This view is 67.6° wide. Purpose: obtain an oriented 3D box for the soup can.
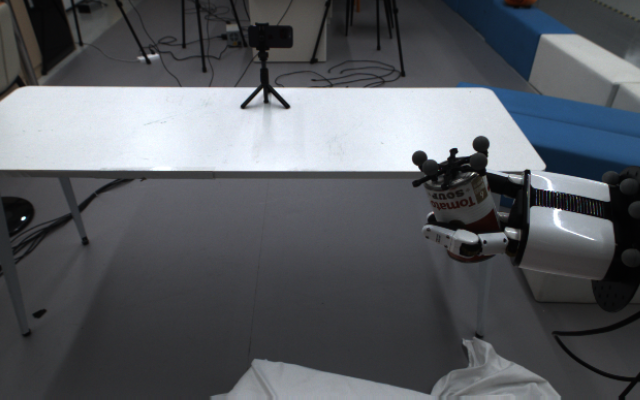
[{"bbox_3d":[0.166,0.010,0.551,0.067,0.101,0.067,-21,24,10],"label":"soup can"}]
